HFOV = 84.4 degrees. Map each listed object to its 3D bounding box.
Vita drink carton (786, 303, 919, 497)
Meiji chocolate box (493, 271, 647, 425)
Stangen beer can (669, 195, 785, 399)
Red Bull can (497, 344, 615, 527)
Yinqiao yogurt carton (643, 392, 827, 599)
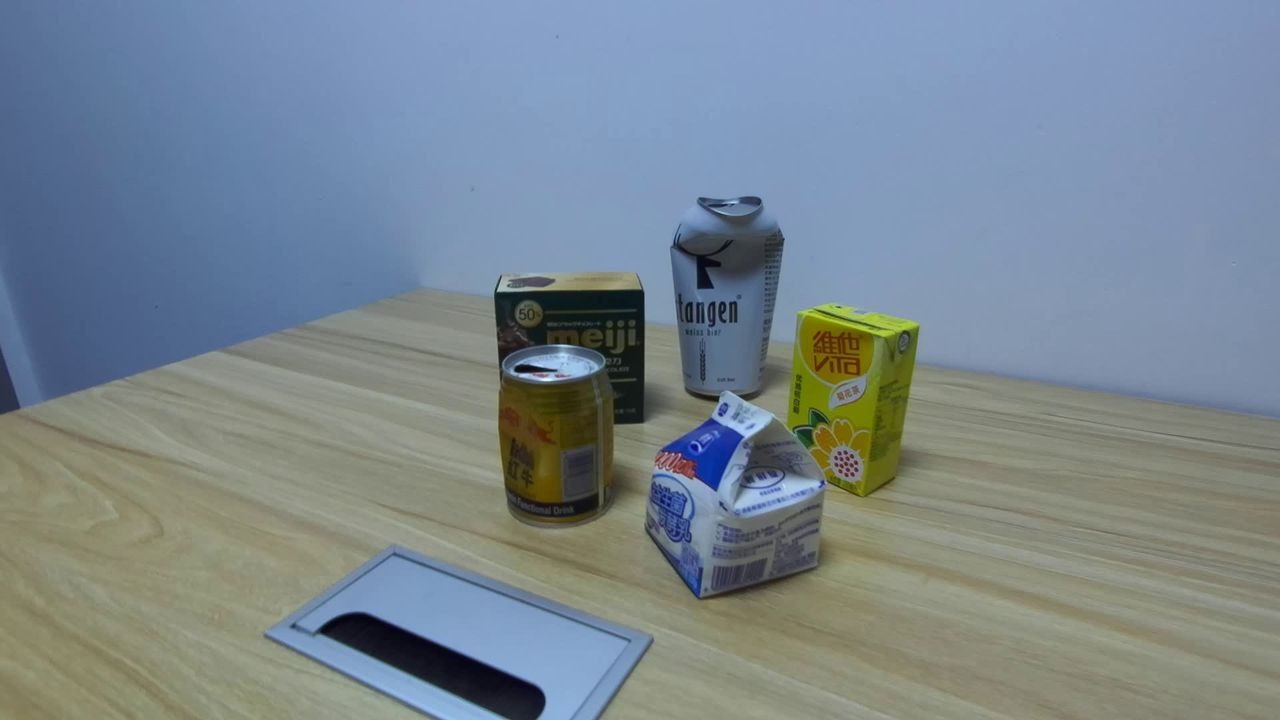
[{"bbox_3d":[0.135,0.024,0.456,0.044,0.109,0.066,-16,26,-39],"label":"Vita drink carton"},{"bbox_3d":[-0.052,-0.008,0.543,0.110,0.109,0.056,-2,21,-5],"label":"Meiji chocolate box"},{"bbox_3d":[0.070,-0.048,0.576,0.077,0.162,0.065,-17,25,-40],"label":"Stangen beer can"},{"bbox_3d":[-0.050,0.044,0.424,0.069,0.092,0.069,1,20,0],"label":"Red Bull can"},{"bbox_3d":[0.051,0.062,0.374,0.077,0.093,0.083,-7,21,-21],"label":"Yinqiao yogurt carton"}]
